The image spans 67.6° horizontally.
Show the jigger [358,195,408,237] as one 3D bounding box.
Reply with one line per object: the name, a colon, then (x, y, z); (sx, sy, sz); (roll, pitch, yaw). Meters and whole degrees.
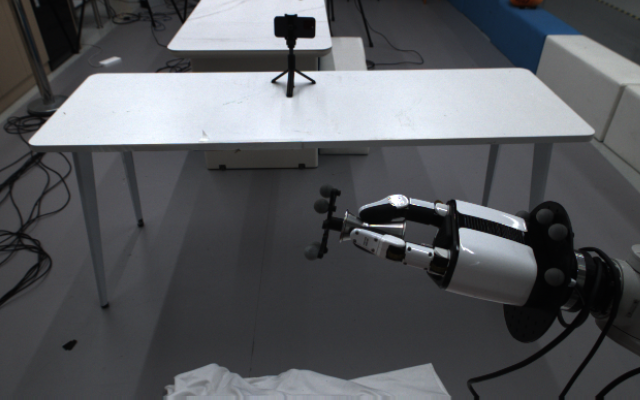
jigger: (0.066, 0.034, 0.548); (0.071, 0.043, 0.043); (12, 36, 5)
